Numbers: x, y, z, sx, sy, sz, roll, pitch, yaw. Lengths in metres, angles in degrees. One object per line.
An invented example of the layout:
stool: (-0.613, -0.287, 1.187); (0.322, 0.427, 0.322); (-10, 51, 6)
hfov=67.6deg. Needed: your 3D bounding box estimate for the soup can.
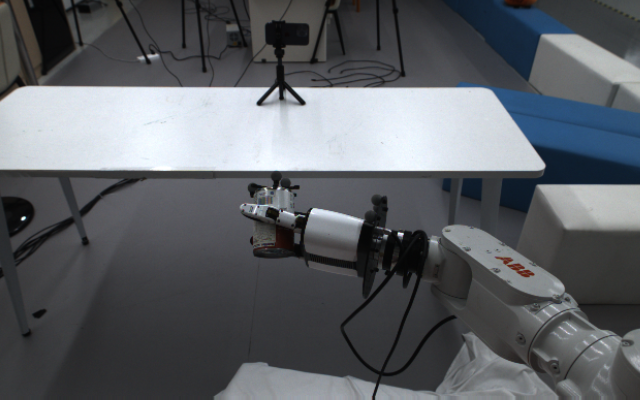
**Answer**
soup can: (-0.072, 0.038, 0.771); (0.067, 0.067, 0.101); (-1, 71, -5)
